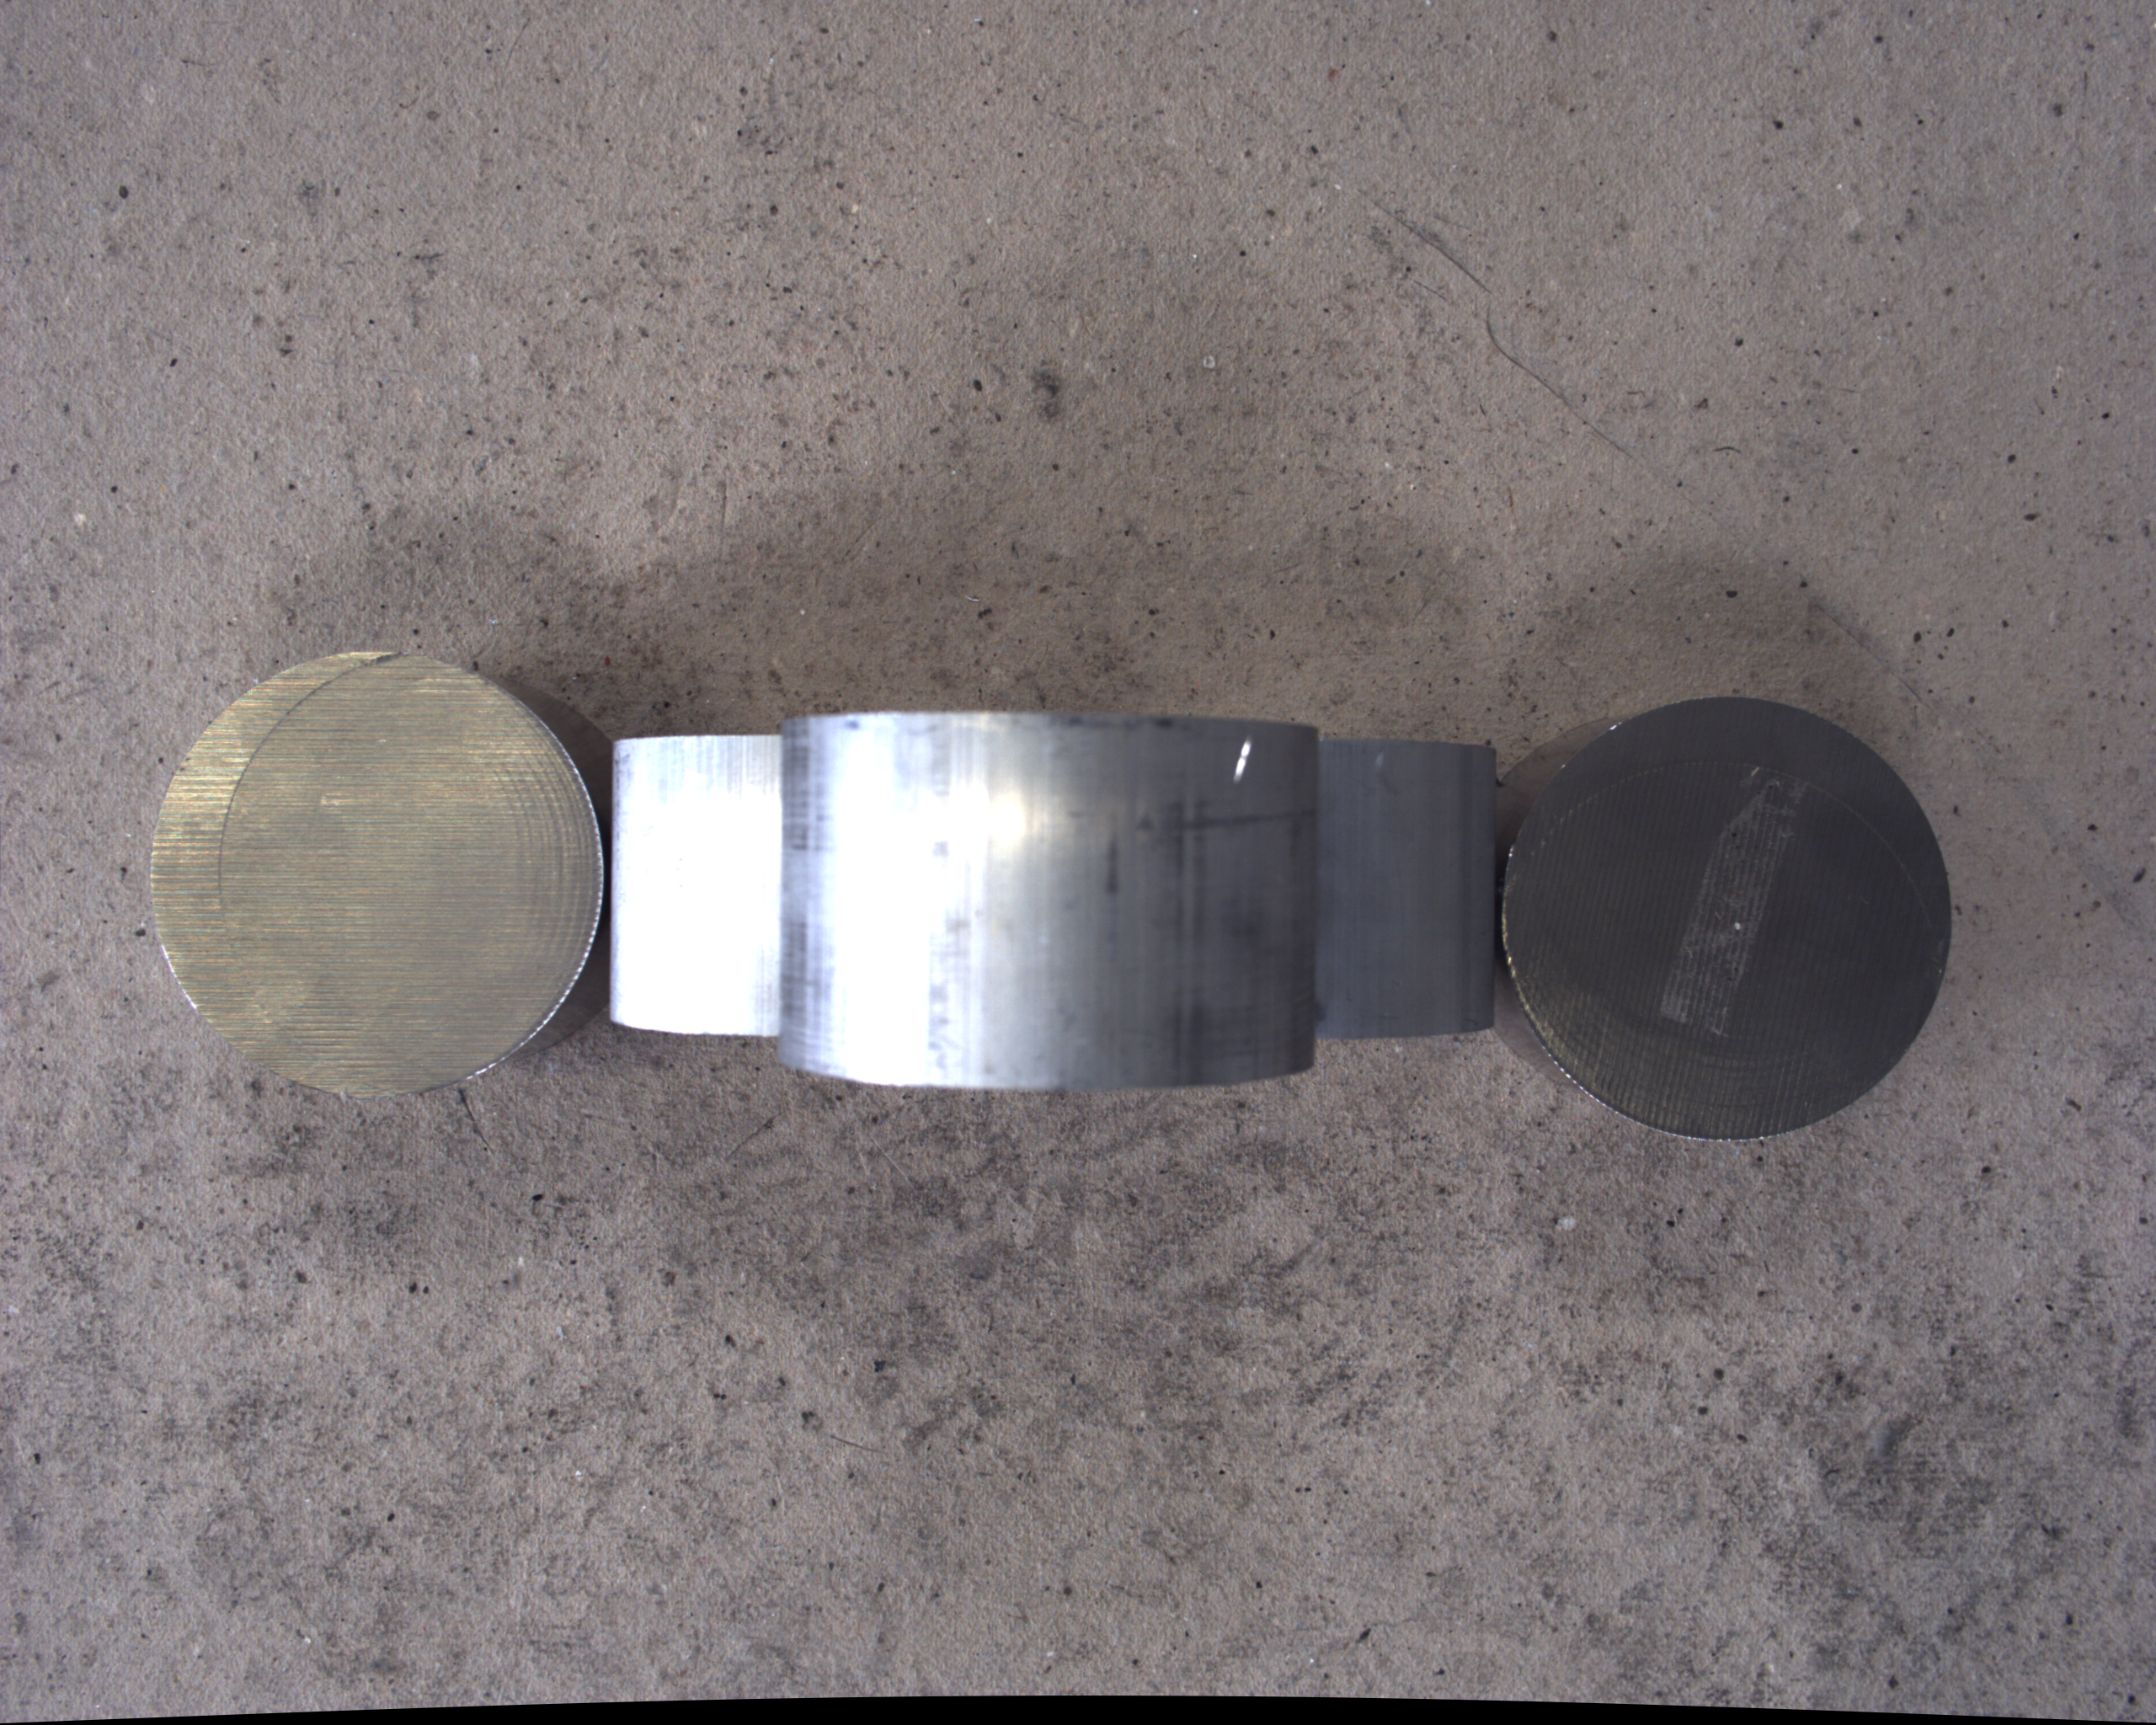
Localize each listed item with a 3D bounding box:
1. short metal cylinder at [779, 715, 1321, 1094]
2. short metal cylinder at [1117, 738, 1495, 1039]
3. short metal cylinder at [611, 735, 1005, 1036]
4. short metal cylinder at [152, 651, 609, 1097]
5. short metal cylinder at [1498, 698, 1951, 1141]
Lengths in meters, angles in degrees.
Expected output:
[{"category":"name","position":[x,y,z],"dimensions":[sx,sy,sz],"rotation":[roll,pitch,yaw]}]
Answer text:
[{"category":"short metal cylinder","position":[-0.004,0.005,0.314],"dimensions":[0.081,0.080,0.050],"rotation":[1,91,0]},{"category":"short metal cylinder","position":[0.036,0.005,0.384],"dimensions":[0.081,0.080,0.050],"rotation":[0,89,0]},{"category":"short metal cylinder","position":[-0.044,0.004,0.383],"dimensions":[0.081,0.080,0.050],"rotation":[0,90,0]},{"category":"short metal cylinder","position":[-0.125,0.002,0.397],"dimensions":[0.081,0.050,0.080],"rotation":[0,90,-1]},{"category":"short metal cylinder","position":[0.116,0.010,0.399],"dimensions":[0.081,0.050,0.080],"rotation":[0,91,-1]}]
